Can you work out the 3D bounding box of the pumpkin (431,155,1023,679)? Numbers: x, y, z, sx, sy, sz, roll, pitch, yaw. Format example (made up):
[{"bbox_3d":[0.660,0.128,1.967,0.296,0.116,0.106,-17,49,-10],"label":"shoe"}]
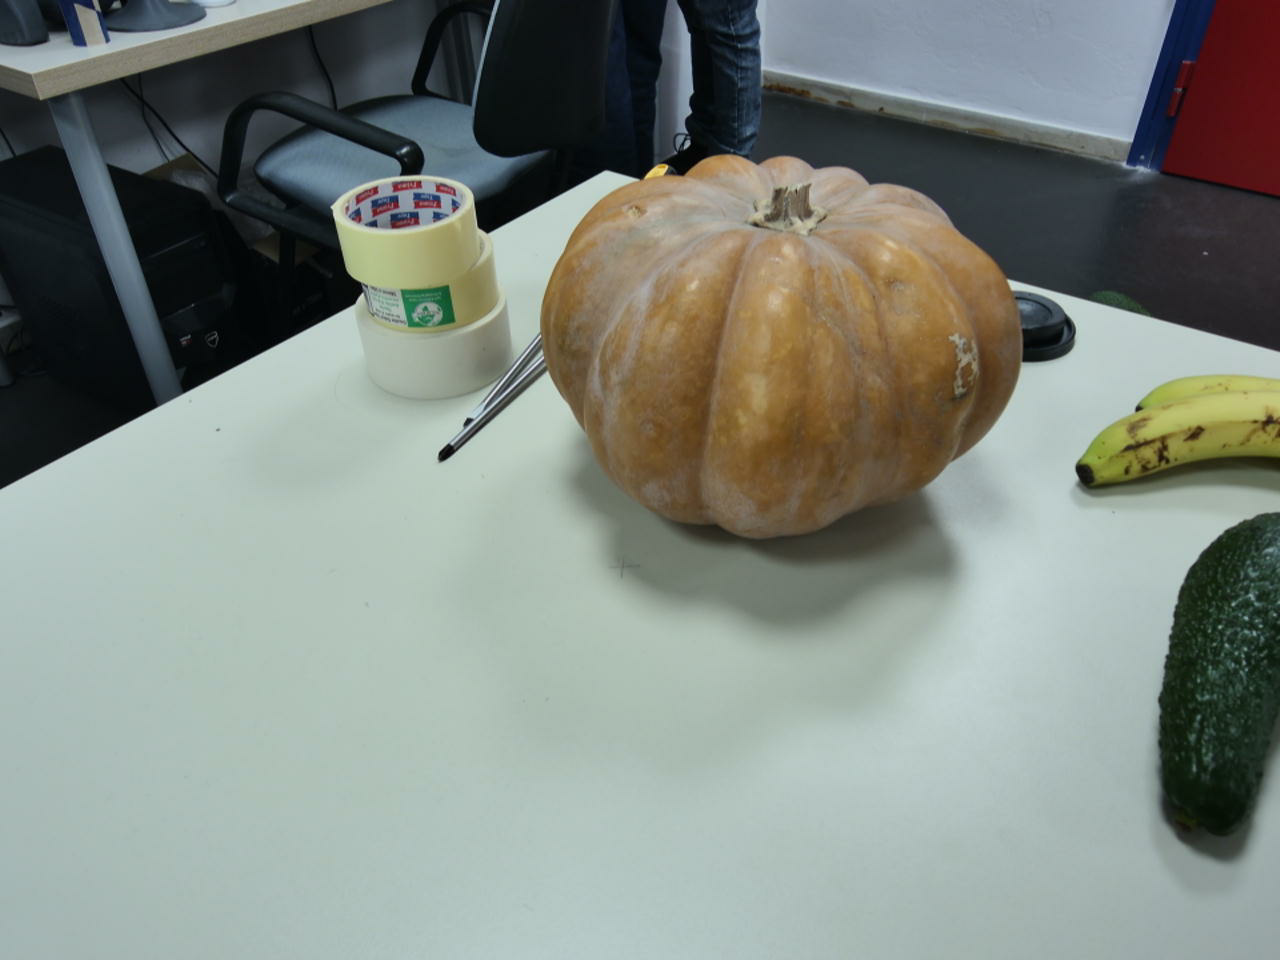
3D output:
[{"bbox_3d":[0.074,-0.084,0.583,0.277,0.181,0.277,0,38,0],"label":"pumpkin"}]
